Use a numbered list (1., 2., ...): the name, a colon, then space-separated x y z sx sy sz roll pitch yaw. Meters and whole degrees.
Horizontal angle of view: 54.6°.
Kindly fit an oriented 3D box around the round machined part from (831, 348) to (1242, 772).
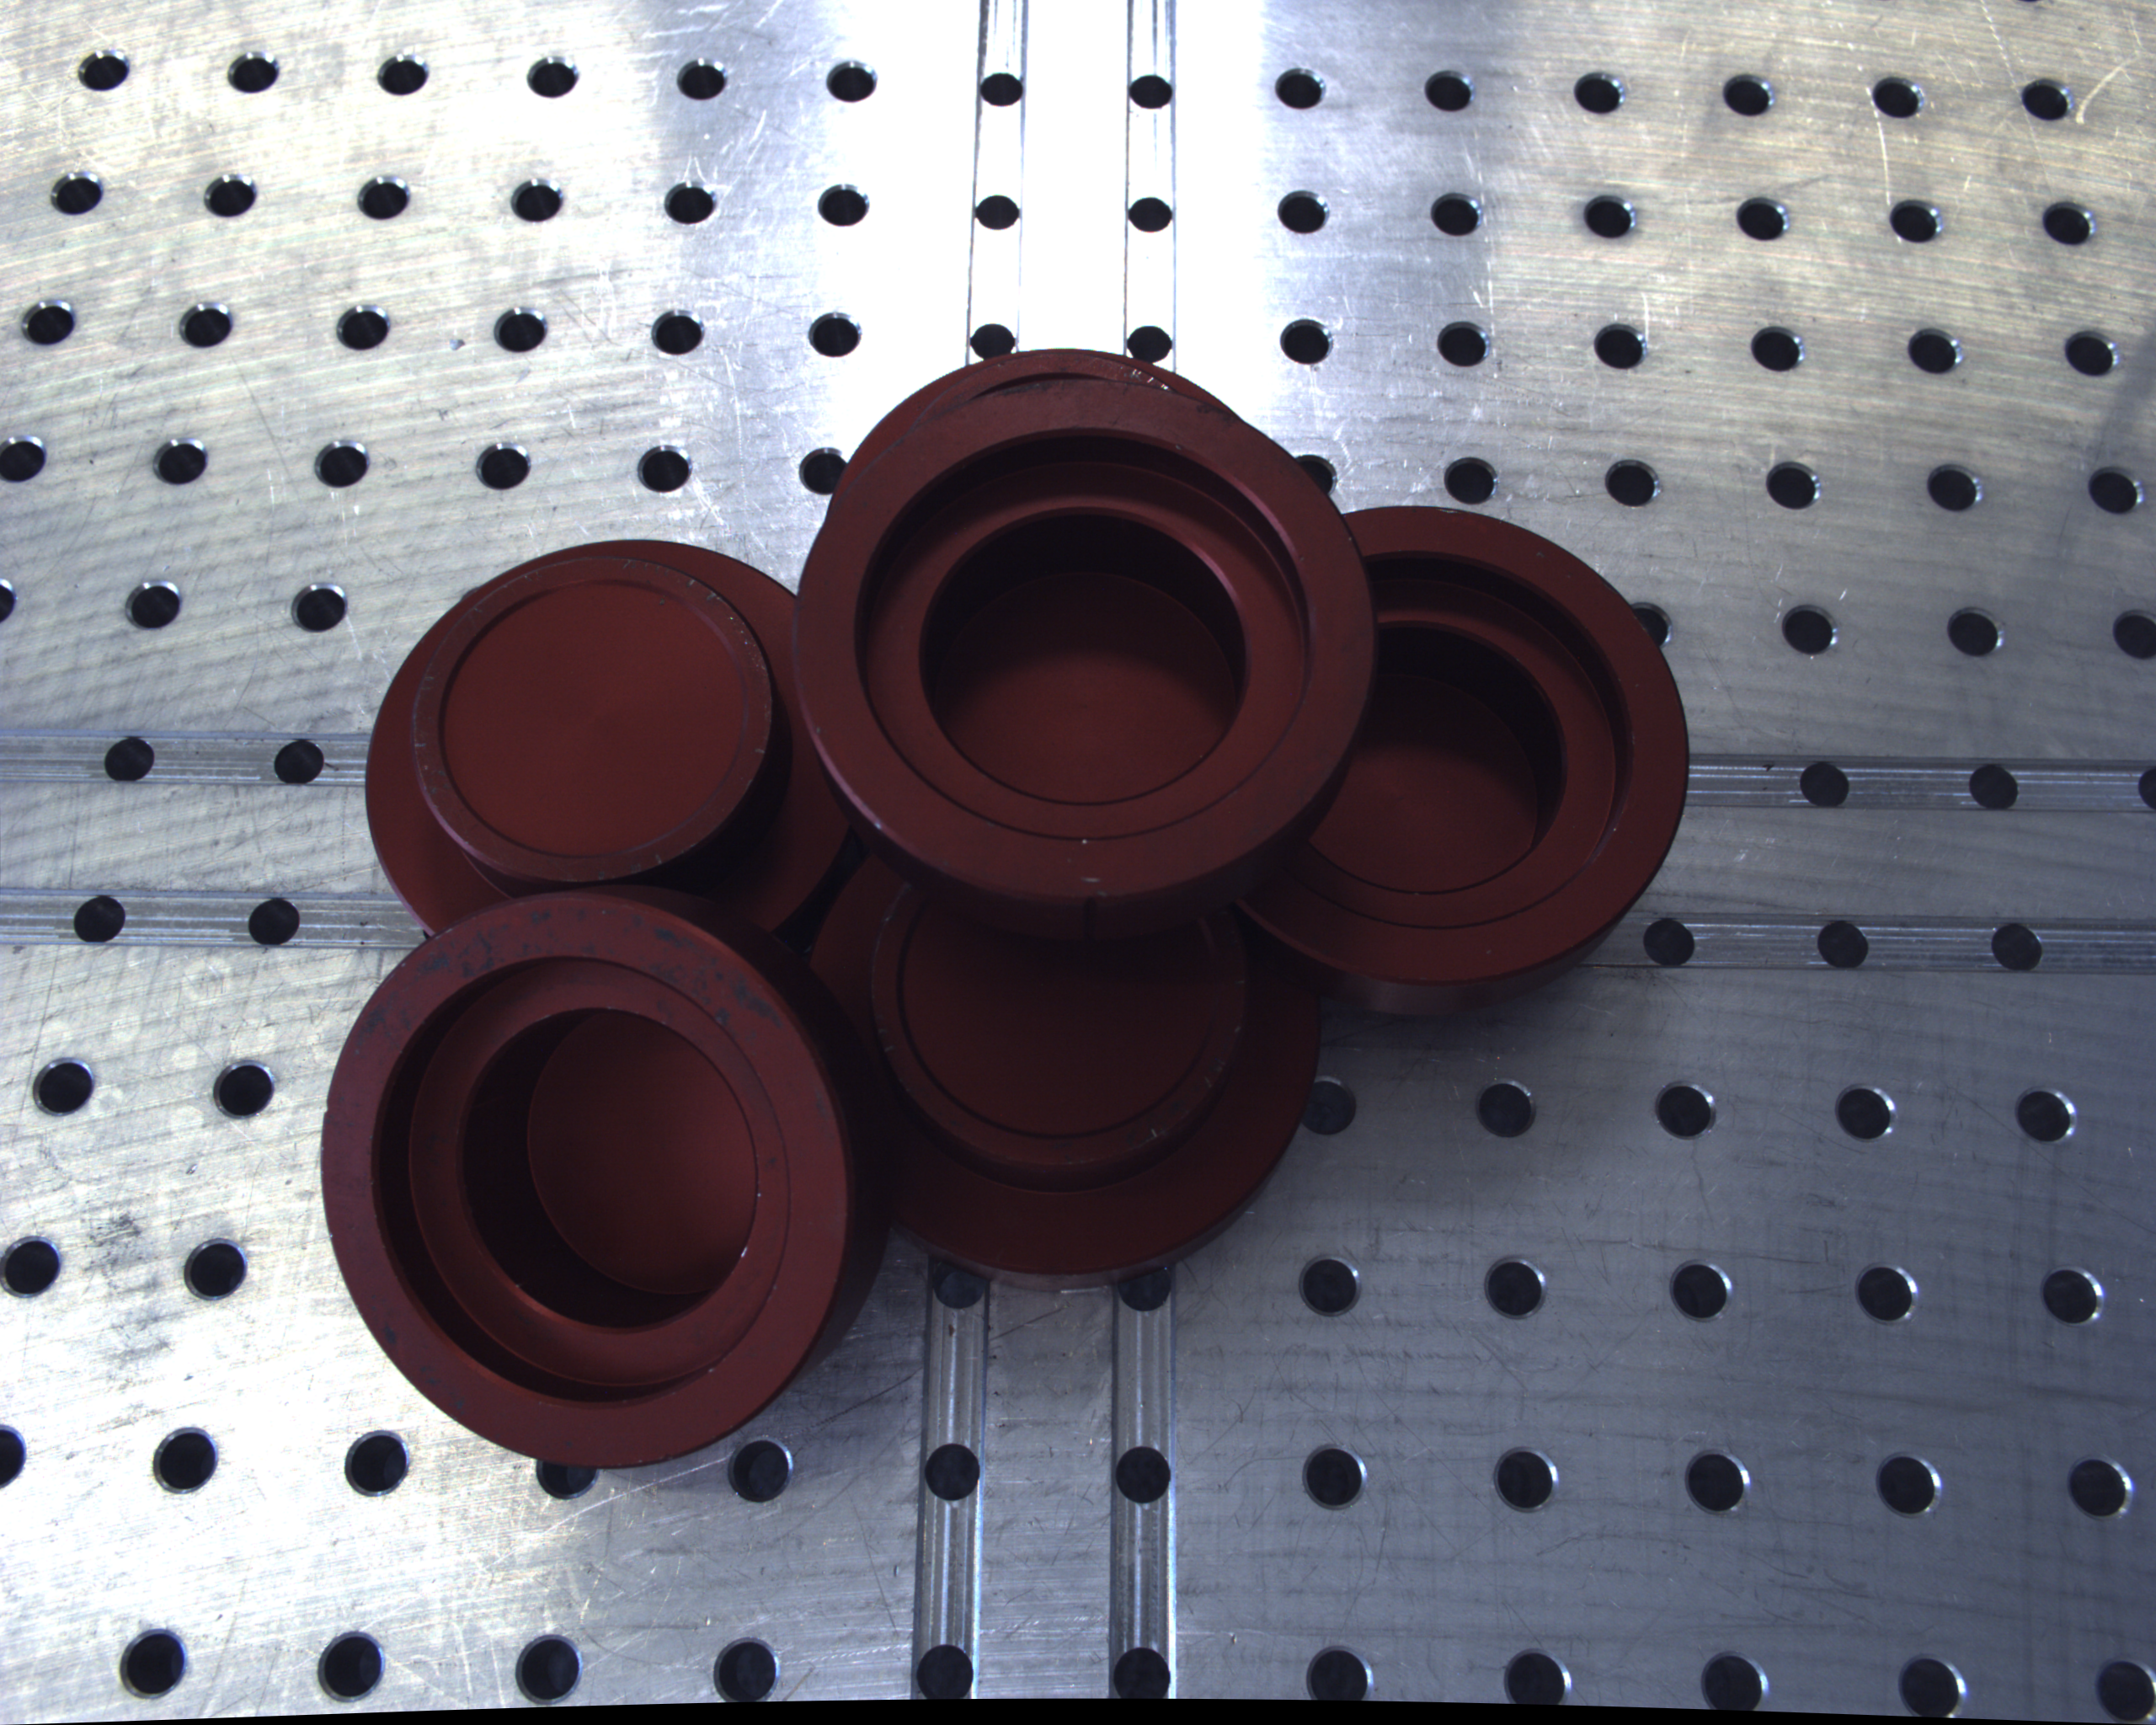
1. round machined part: -0.003 -0.064 0.426 0.099 0.042 0.098 0 70 0

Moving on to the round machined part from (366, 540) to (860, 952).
1. round machined part: -0.090 -0.020 0.410 0.099 0.042 0.098 0 70 0

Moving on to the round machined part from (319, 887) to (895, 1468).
1. round machined part: -0.079 0.052 0.369 0.098 0.042 0.097 1 93 14

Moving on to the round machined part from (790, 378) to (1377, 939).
1. round machined part: 0.001 -0.033 0.369 0.099 0.042 0.098 0 70 0

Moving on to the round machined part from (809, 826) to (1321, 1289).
1. round machined part: -0.003 0.028 0.392 0.099 0.042 0.098 0 70 0

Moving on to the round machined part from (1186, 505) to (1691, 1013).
1. round machined part: 0.065 -0.017 0.409 0.099 0.042 0.098 0 70 0
